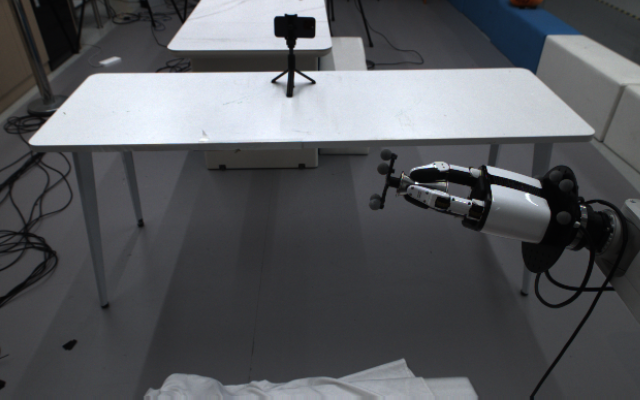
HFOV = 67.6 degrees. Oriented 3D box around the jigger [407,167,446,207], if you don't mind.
[{"bbox_3d":[0.155,-0.018,0.709,0.071,0.043,0.043,14,36,4],"label":"jigger"}]
